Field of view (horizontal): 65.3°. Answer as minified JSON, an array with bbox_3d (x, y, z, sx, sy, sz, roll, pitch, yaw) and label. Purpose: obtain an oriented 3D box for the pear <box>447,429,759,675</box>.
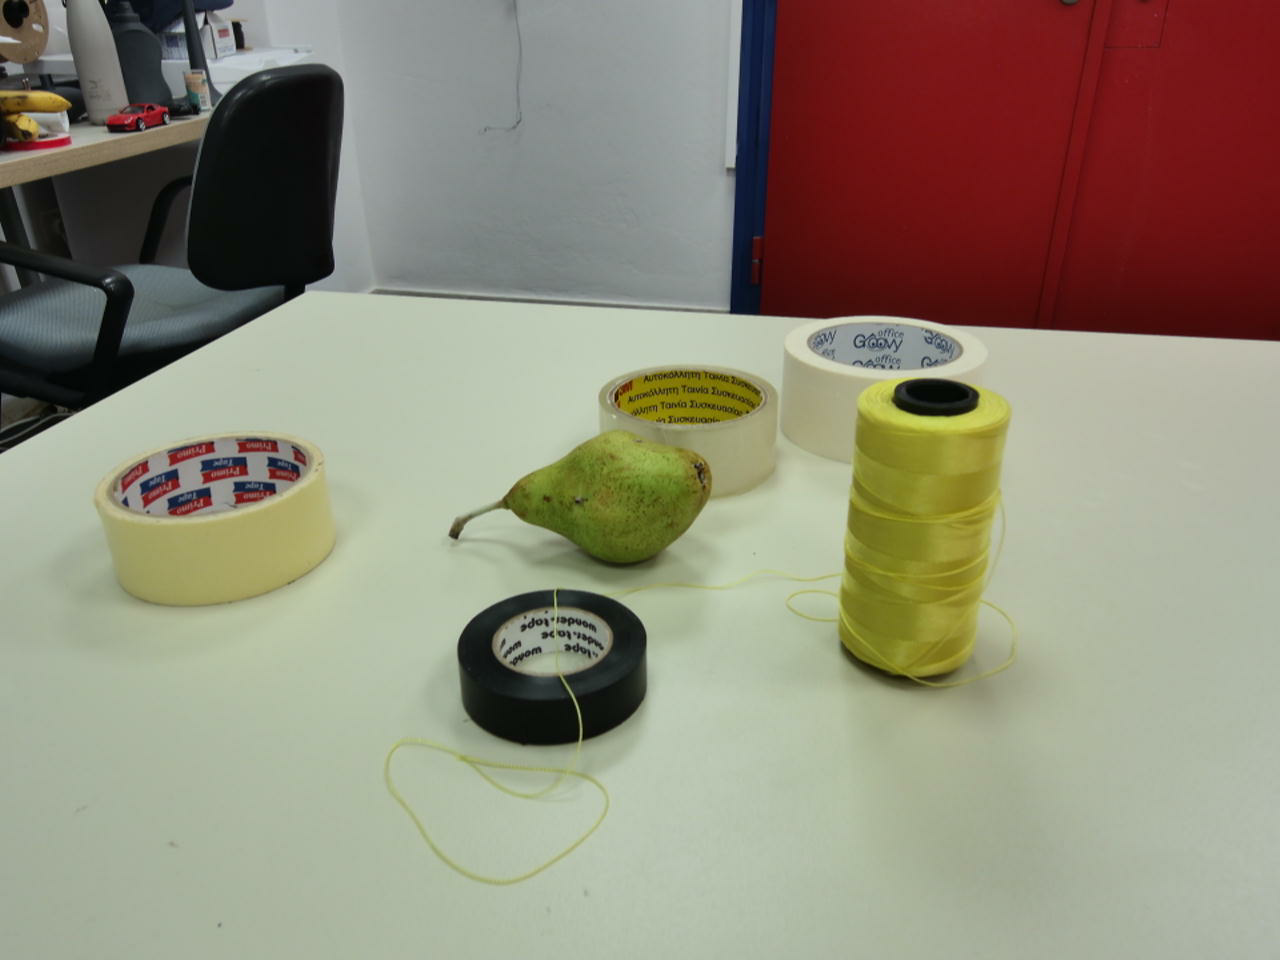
[{"bbox_3d":[-0.024,0.004,0.432,0.111,0.056,0.056,12,27,26],"label":"pear"}]
